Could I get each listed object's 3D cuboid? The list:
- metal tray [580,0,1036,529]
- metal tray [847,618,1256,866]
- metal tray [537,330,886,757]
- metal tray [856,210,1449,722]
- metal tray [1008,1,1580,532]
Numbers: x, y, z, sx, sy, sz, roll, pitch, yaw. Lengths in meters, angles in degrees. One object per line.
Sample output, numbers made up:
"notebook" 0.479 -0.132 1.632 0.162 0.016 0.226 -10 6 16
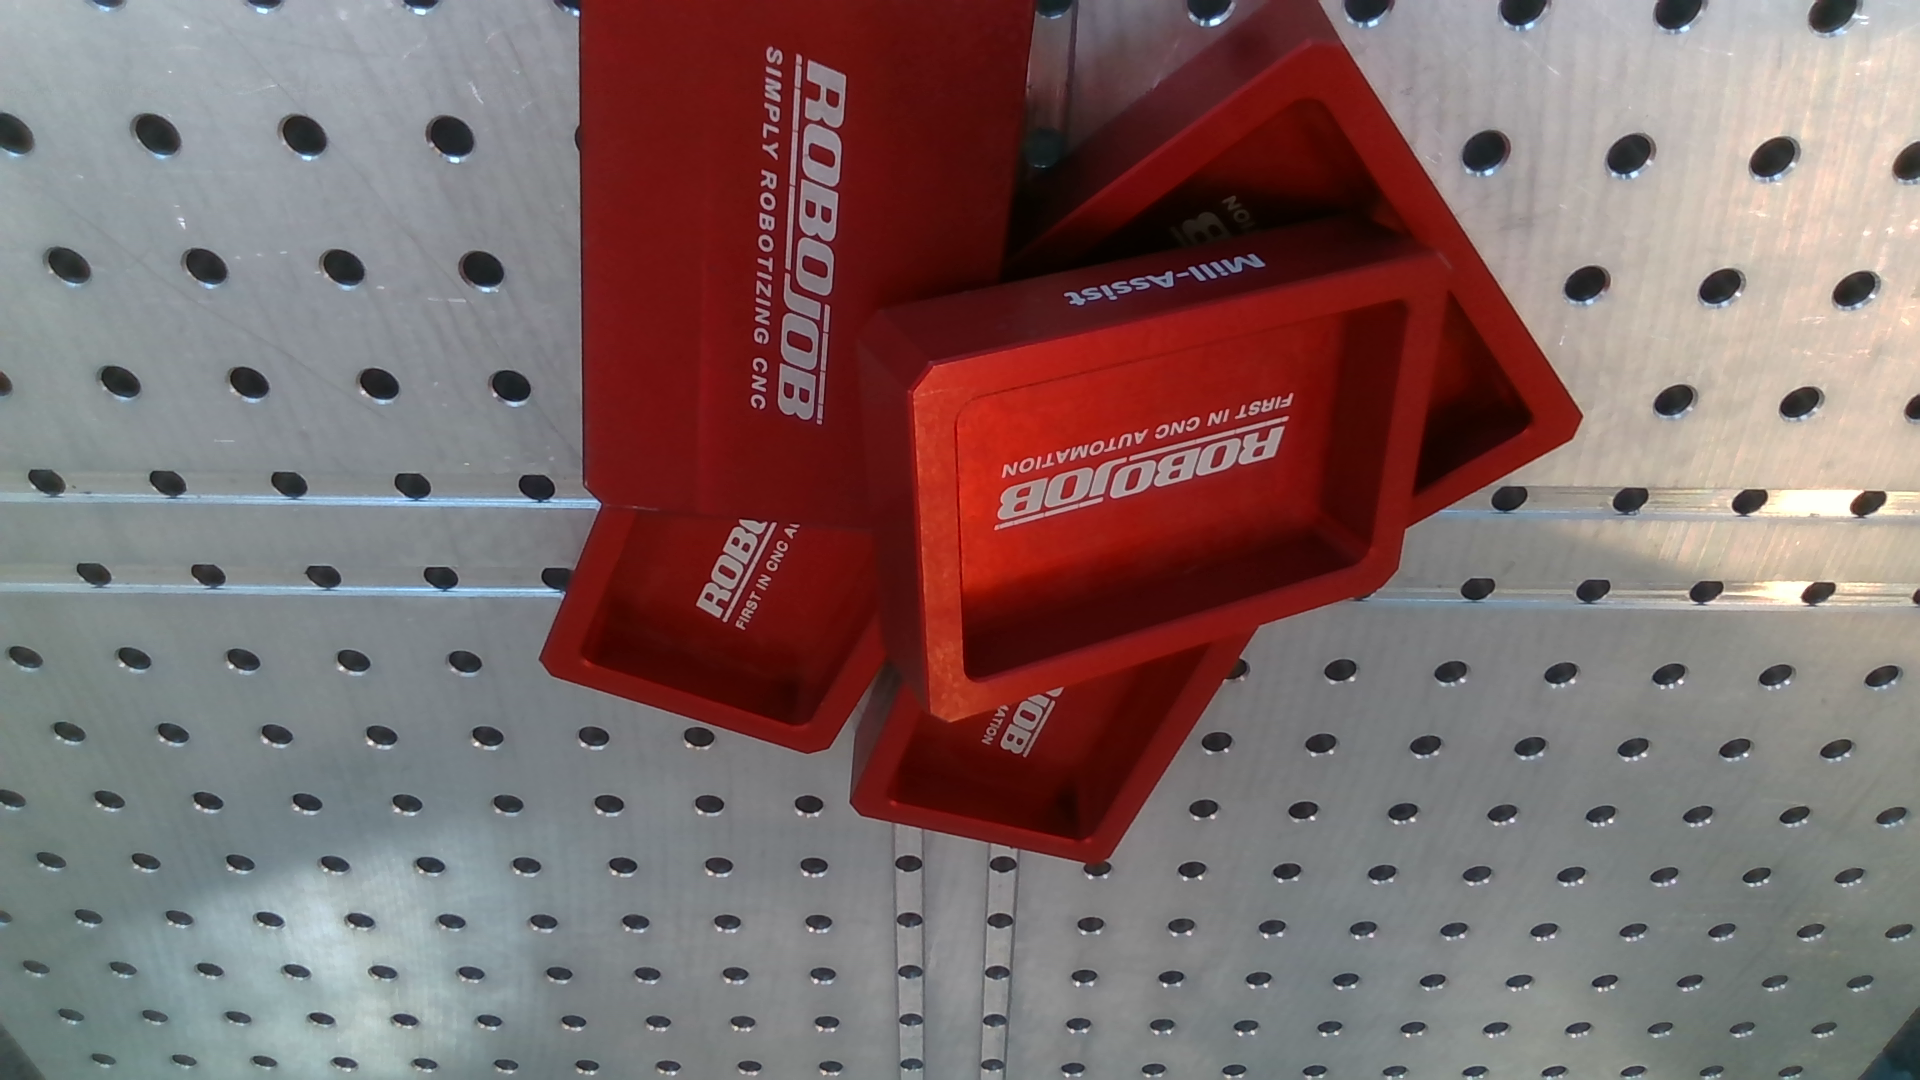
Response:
"metal tray" -0.036 -0.069 0.308 0.090 0.030 0.130 6 116 -4
"metal tray" 0.026 0.042 0.422 0.090 0.030 0.130 14 129 -11
"metal tray" -0.056 0.000 0.386 0.090 0.030 0.130 20 127 -16
"metal tray" 0.045 -0.018 0.317 0.130 0.030 0.090 -15 125 -19
"metal tray" 0.081 -0.053 0.342 0.090 0.030 0.130 -33 123 24
